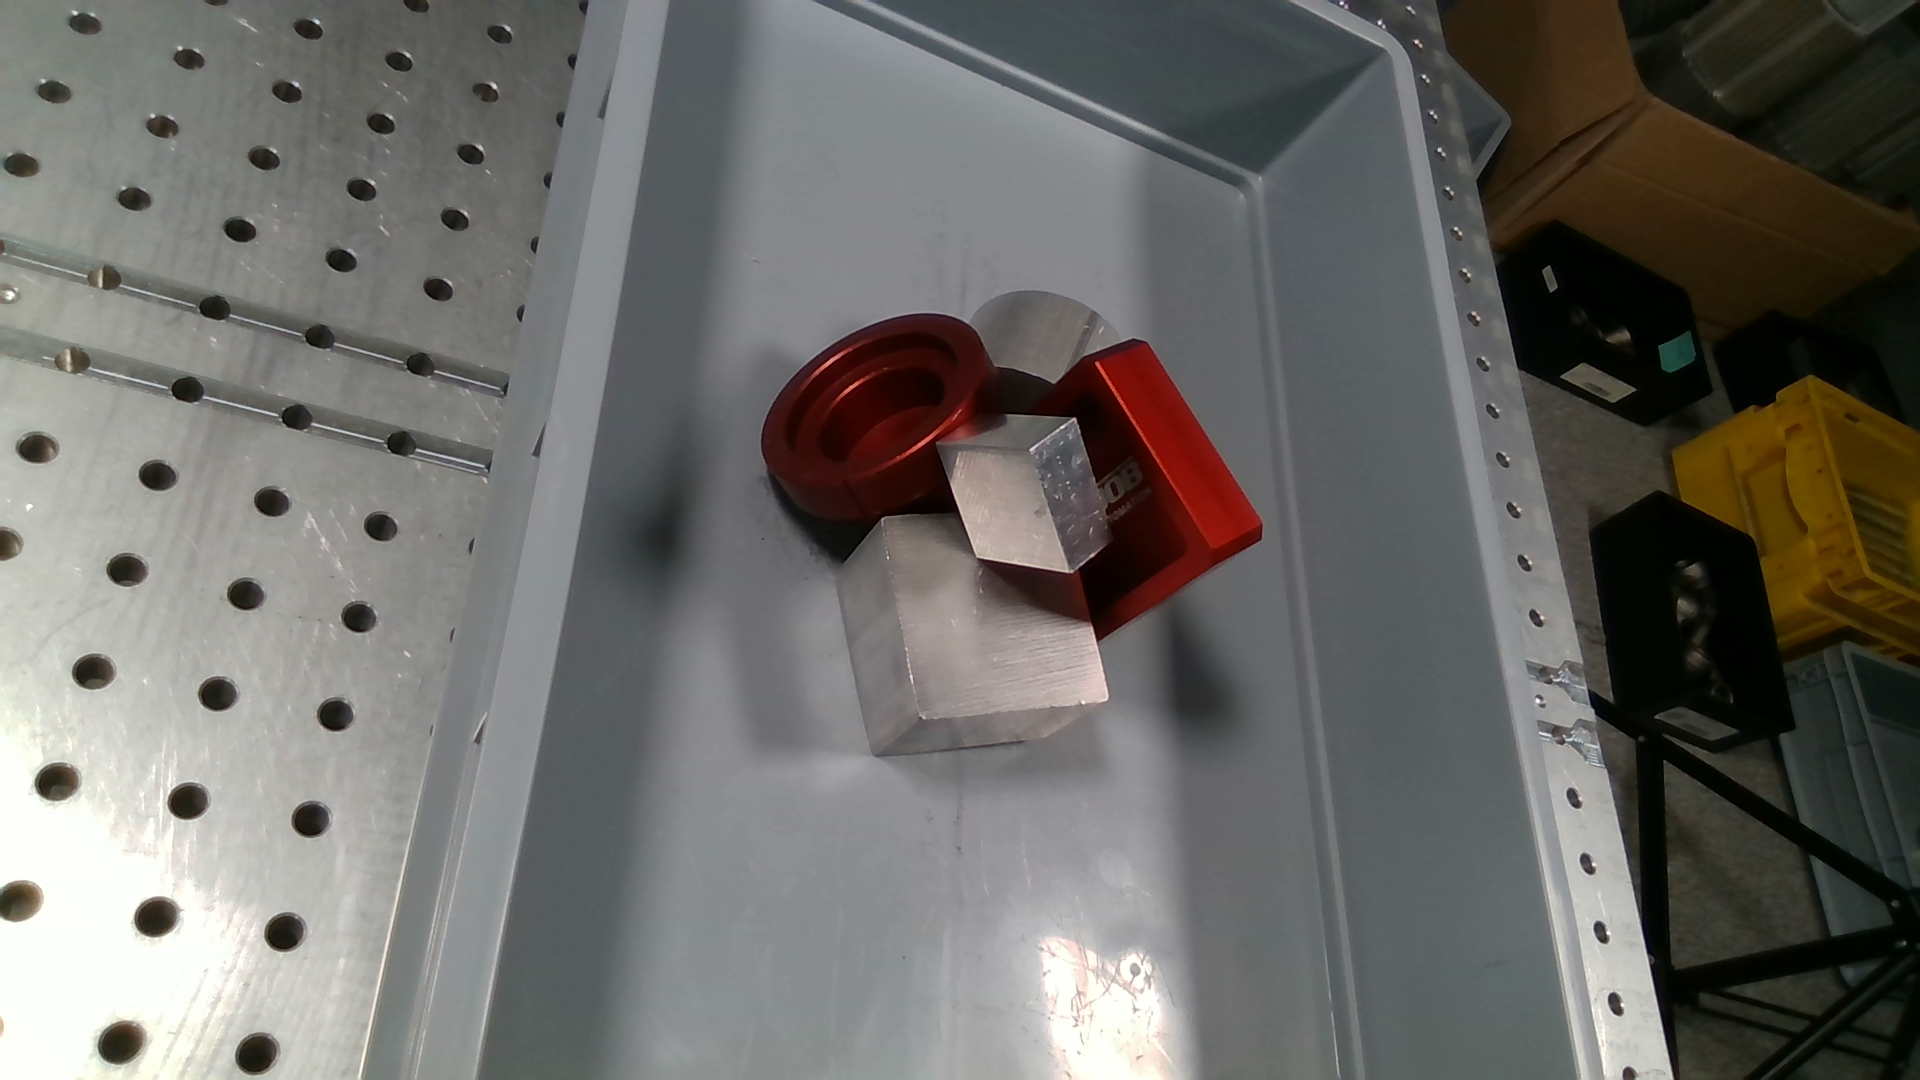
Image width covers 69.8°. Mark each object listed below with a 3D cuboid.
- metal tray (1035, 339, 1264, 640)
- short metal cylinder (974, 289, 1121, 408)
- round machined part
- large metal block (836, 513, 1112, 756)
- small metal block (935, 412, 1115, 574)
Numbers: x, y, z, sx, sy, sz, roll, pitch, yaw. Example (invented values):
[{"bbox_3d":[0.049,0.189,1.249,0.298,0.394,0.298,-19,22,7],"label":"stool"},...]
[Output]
[{"bbox_3d":[0.050,-0.009,0.552,0.030,0.130,0.090,-25,80,-37],"label":"metal tray"},{"bbox_3d":[0.032,-0.062,0.602,0.080,0.080,0.050,34,52,-12],"label":"short metal cylinder"},{"bbox_3d":[-0.028,-0.044,0.556,0.042,0.098,0.098,59,40,-39],"label":"round machined part"},{"bbox_3d":[0.003,0.036,0.542,0.080,0.050,0.080,-2,66,-28],"label":"large metal block"},{"bbox_3d":[0.024,-0.018,0.505,0.025,0.050,0.050,-36,119,-33],"label":"small metal block"}]
